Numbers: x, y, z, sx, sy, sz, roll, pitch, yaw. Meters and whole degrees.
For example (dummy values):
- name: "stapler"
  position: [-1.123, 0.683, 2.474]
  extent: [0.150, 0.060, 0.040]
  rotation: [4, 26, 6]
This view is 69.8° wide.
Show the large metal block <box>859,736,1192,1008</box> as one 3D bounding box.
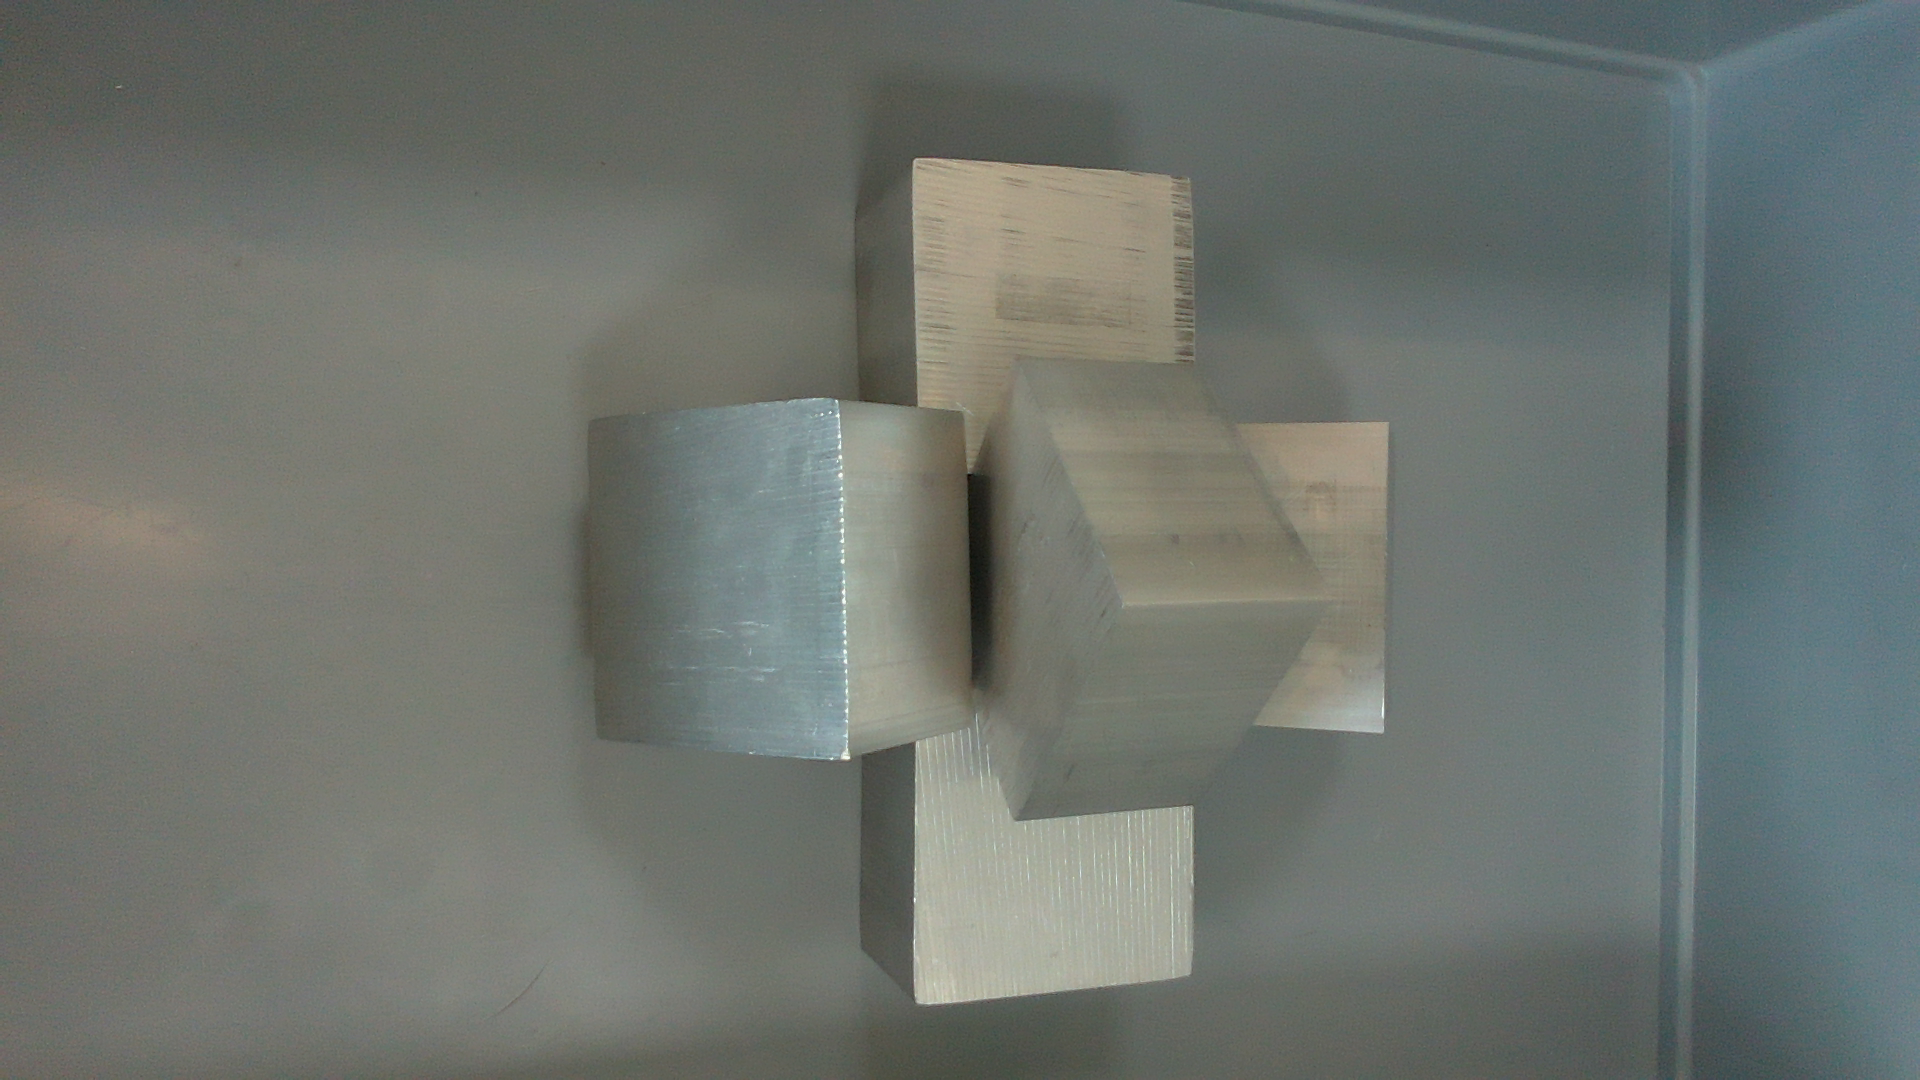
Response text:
- name: "large metal block"
  position: [0.017, 0.079, 0.386]
  extent: [0.080, 0.050, 0.080]
  rotation: [1, 90, -20]

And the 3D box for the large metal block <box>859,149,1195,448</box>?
- name: "large metal block"
  position: [0.017, -0.059, 0.383]
  extent: [0.080, 0.050, 0.080]
  rotation: [-2, 91, -20]

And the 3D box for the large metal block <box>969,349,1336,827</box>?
- name: "large metal block"
  position: [0.036, 0.011, 0.334]
  extent: [0.050, 0.080, 0.080]
  rotation: [-1, 47, -21]

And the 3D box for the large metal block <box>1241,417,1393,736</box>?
- name: "large metal block"
  position: [0.096, 0.009, 0.391]
  extent: [0.050, 0.080, 0.080]
  rotation: [1, 90, 19]

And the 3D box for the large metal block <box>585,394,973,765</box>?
- name: "large metal block"
  position: [-0.045, 0.008, 0.339]
  extent: [0.050, 0.080, 0.080]
  rotation: [-3, 92, -56]
